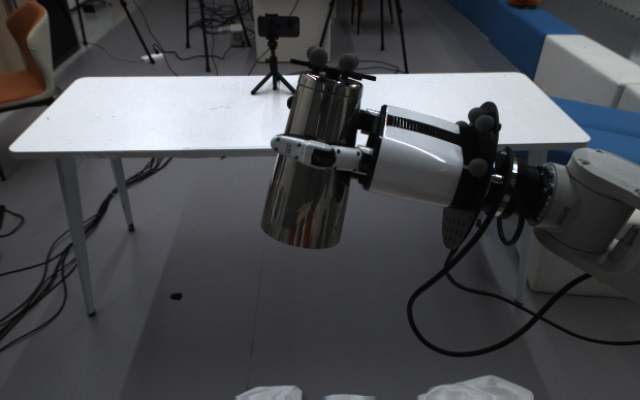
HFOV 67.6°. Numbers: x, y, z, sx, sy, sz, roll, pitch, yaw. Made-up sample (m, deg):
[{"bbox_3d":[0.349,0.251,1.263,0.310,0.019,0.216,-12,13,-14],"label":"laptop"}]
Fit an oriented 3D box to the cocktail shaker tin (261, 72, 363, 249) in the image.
[{"bbox_3d":[-0.003,-0.045,0.518,0.093,0.170,0.093,11,19,-4],"label":"cocktail shaker tin"}]
